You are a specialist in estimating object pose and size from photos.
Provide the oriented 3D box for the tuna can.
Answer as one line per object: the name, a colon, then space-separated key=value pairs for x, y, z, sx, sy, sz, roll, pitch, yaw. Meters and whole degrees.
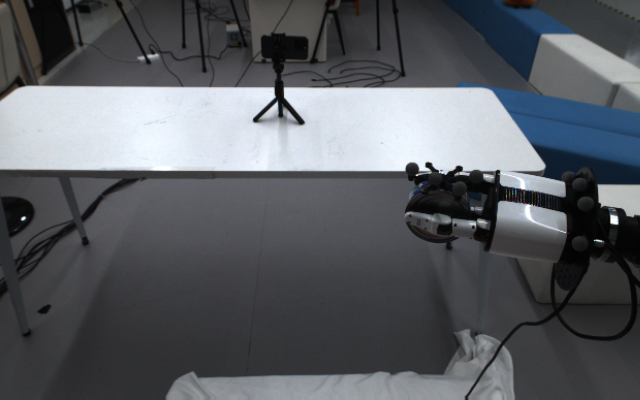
tuna can: x=0.161 y=0.011 z=0.650 sx=0.085 sy=0.085 sz=0.034 roll=10 pitch=34 yaw=11
